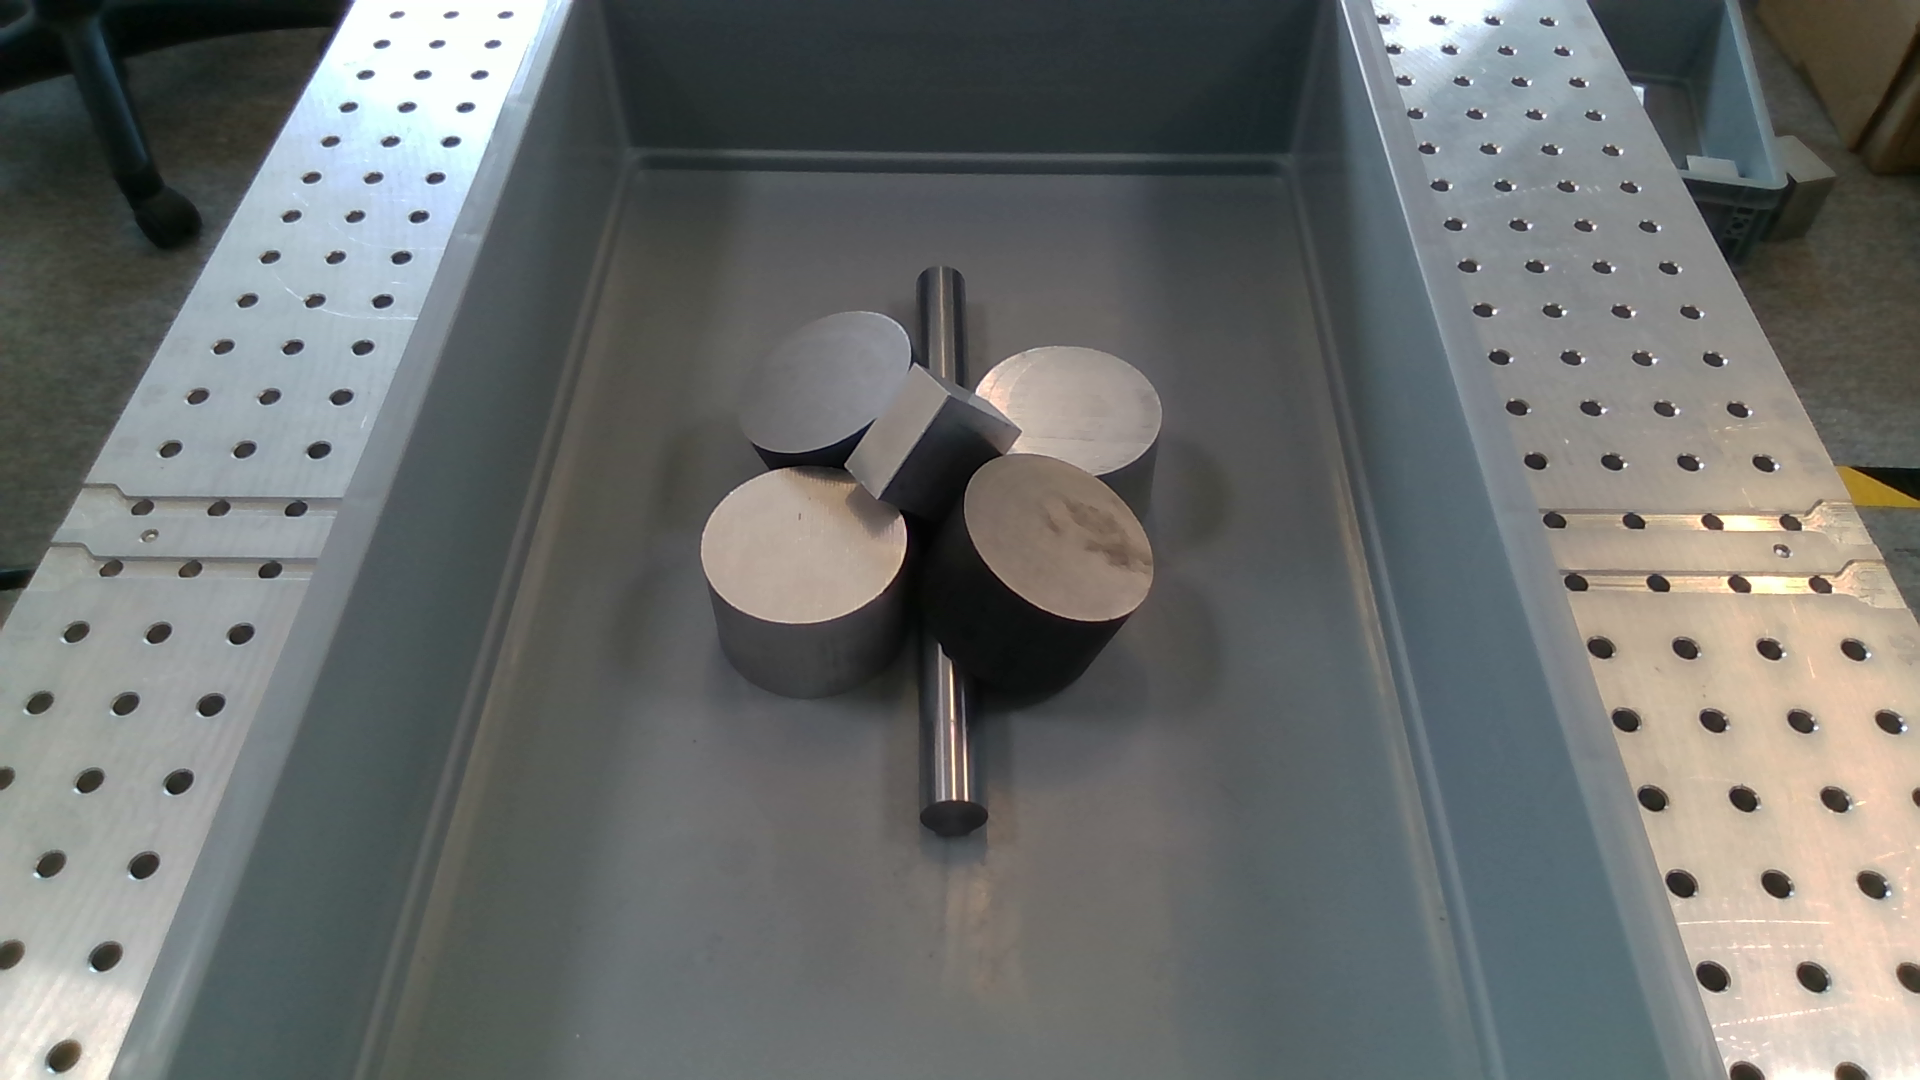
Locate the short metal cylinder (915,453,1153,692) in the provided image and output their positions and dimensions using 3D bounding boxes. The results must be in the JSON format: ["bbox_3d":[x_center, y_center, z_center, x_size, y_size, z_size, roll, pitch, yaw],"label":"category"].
[{"bbox_3d":[0.028,0.012,0.542,0.080,0.050,0.080,16,47,-18],"label":"short metal cylinder"}]

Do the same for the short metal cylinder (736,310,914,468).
[{"bbox_3d":[-0.050,-0.053,0.598,0.080,0.050,0.080,-13,49,16],"label":"short metal cylinder"}]

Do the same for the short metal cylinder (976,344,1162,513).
[{"bbox_3d":[0.045,-0.040,0.602,0.080,0.050,0.080,0,50,0],"label":"short metal cylinder"}]

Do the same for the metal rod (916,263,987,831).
[{"bbox_3d":[-0.006,-0.015,0.597,0.025,0.025,0.299,-1,50,-1],"label":"metal rod"}]

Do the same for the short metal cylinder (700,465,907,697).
[{"bbox_3d":[-0.061,0.016,0.556,0.080,0.050,0.080,0,50,0],"label":"short metal cylinder"}]

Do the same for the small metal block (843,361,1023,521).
[{"bbox_3d":[-0.011,-0.037,0.554,0.050,0.050,0.025,-54,52,12],"label":"small metal block"}]
